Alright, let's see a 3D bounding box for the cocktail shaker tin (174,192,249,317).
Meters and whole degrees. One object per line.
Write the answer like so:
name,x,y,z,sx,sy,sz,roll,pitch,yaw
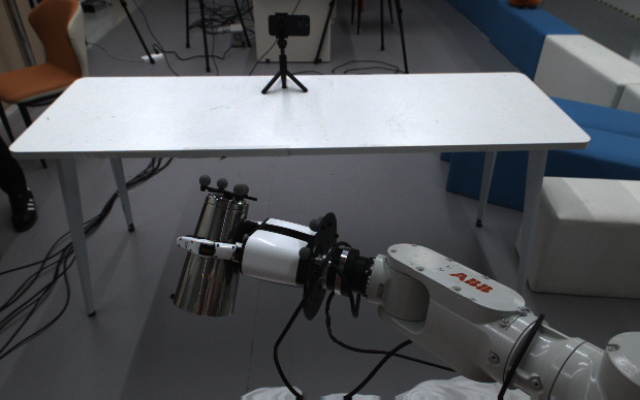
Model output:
cocktail shaker tin,-0.160,0.080,0.737,0.093,0.170,0.093,13,2,-1
